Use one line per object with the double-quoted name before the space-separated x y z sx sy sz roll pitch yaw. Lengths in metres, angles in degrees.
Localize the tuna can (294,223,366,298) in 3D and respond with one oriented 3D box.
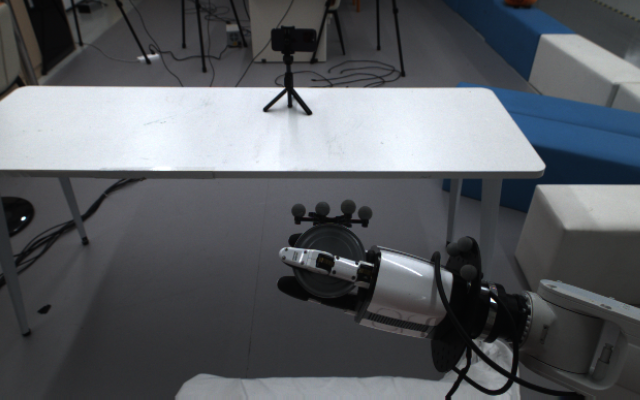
"tuna can" 0.013 0.071 0.568 0.085 0.034 0.085 -1 76 4
